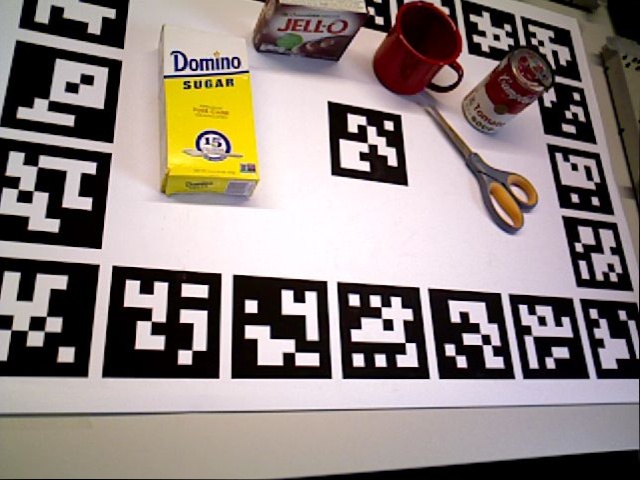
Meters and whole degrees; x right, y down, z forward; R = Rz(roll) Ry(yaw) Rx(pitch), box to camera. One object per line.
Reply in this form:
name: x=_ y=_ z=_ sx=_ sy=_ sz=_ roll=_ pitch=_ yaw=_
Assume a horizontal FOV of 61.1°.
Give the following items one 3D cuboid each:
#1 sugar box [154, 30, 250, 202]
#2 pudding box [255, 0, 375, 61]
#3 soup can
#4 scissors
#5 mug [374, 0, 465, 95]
sugar box: x=-0.125 y=-0.128 z=0.568 sx=0.091 sy=0.046 sz=0.175 roll=1 pitch=74 yaw=-20
pudding box: x=-0.008 y=-0.248 z=0.620 sx=0.112 sy=0.091 sz=0.038 roll=-5 pitch=80 yaw=-24
soup can: x=0.236 y=-0.187 z=0.703 sx=0.067 sy=0.104 sz=0.067 roll=7 pitch=68 yaw=-19
scissors: x=0.206 y=-0.087 z=0.697 sx=0.086 sy=0.016 sz=0.203 roll=-41 pitch=92 yaw=-18
mug: x=0.126 y=-0.233 z=0.678 sx=0.091 sy=0.083 sz=0.117 roll=-34 pitch=86 yaw=-26
